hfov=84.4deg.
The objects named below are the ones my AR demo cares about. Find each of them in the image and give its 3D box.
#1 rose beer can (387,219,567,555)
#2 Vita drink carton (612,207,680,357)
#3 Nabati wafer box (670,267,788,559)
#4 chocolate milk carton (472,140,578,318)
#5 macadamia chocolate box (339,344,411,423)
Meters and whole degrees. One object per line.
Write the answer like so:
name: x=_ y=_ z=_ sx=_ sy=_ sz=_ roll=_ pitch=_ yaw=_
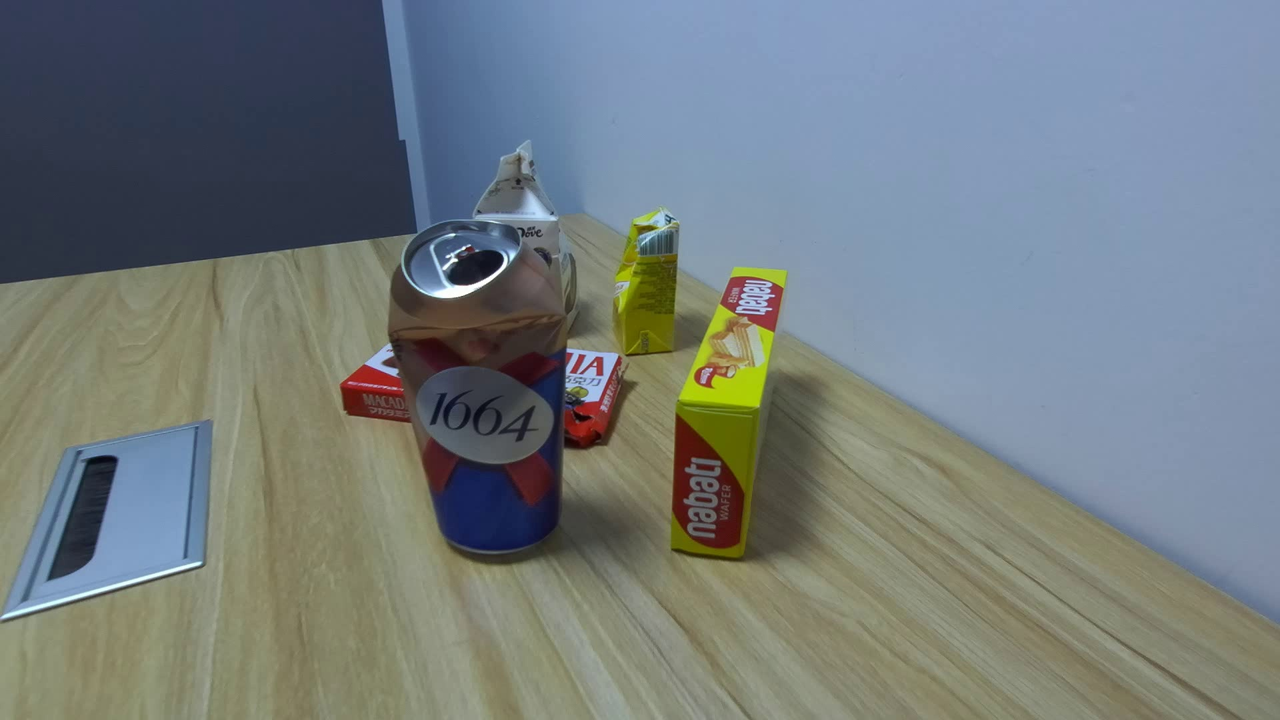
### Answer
rose beer can: x=-0.076 y=0.019 z=0.350 sx=0.069 sy=0.168 sz=0.069 roll=-17 pitch=32 yaw=-27
Vita drink carton: x=0.002 y=-0.066 z=0.579 sx=0.046 sy=0.110 sz=0.071 roll=-3 pitch=25 yaw=-10
Nabati wafer box: x=0.058 y=0.019 z=0.428 sx=0.042 sy=0.093 sz=0.203 roll=7 pitch=27 yaw=12
chocolate milk carton: x=-0.095 y=-0.104 z=0.609 sx=0.073 sy=0.155 sz=0.084 roll=3 pitch=26 yaw=7
macadamia chocolate box: x=-0.106 y=0.019 z=0.508 sx=0.186 sy=0.027 sz=0.103 roll=6 pitch=30 yaw=13
